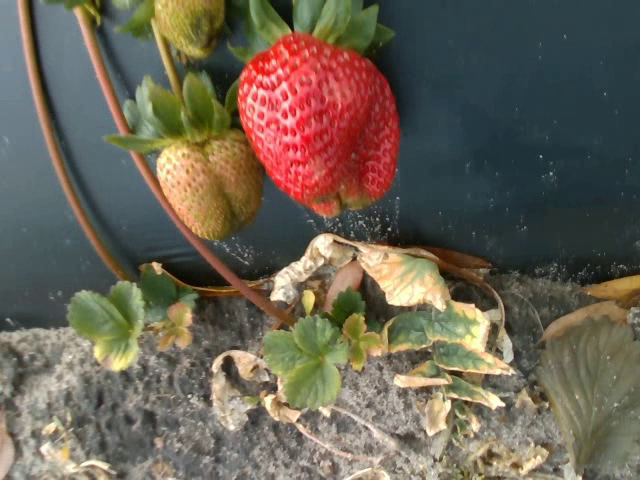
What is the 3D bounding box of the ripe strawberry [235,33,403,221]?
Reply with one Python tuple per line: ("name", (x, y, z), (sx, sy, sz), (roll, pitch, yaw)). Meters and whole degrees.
("ripe strawberry", (-0.003, -0.031, 0.175), (0.066, 0.075, 0.053), (-19, 33, 20))
